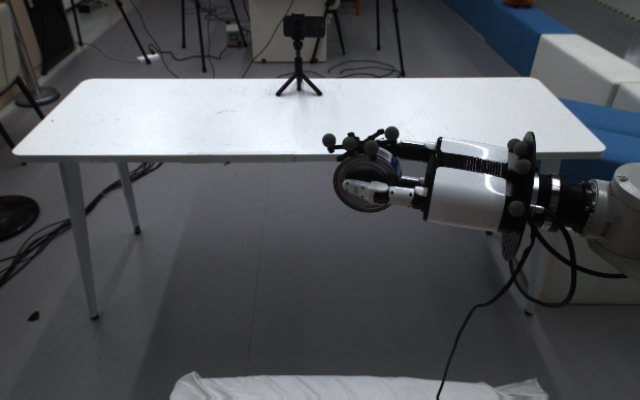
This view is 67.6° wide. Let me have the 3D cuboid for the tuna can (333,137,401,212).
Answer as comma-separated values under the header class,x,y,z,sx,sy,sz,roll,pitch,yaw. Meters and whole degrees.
class,x,y,z,sx,sy,sz,roll,pitch,yaw
tuna can,0.064,-0.029,0.626,0.085,0.085,0.034,10,33,11
